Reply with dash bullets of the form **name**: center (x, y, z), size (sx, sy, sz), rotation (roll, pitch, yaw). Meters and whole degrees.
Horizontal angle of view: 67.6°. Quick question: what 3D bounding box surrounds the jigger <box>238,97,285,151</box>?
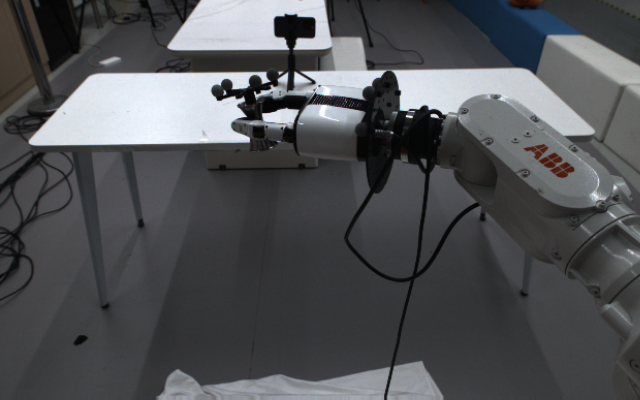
- **jigger**: center (-0.089, -0.108, 0.695), size (0.043, 0.071, 0.043), rotation (-11, 24, 5)
